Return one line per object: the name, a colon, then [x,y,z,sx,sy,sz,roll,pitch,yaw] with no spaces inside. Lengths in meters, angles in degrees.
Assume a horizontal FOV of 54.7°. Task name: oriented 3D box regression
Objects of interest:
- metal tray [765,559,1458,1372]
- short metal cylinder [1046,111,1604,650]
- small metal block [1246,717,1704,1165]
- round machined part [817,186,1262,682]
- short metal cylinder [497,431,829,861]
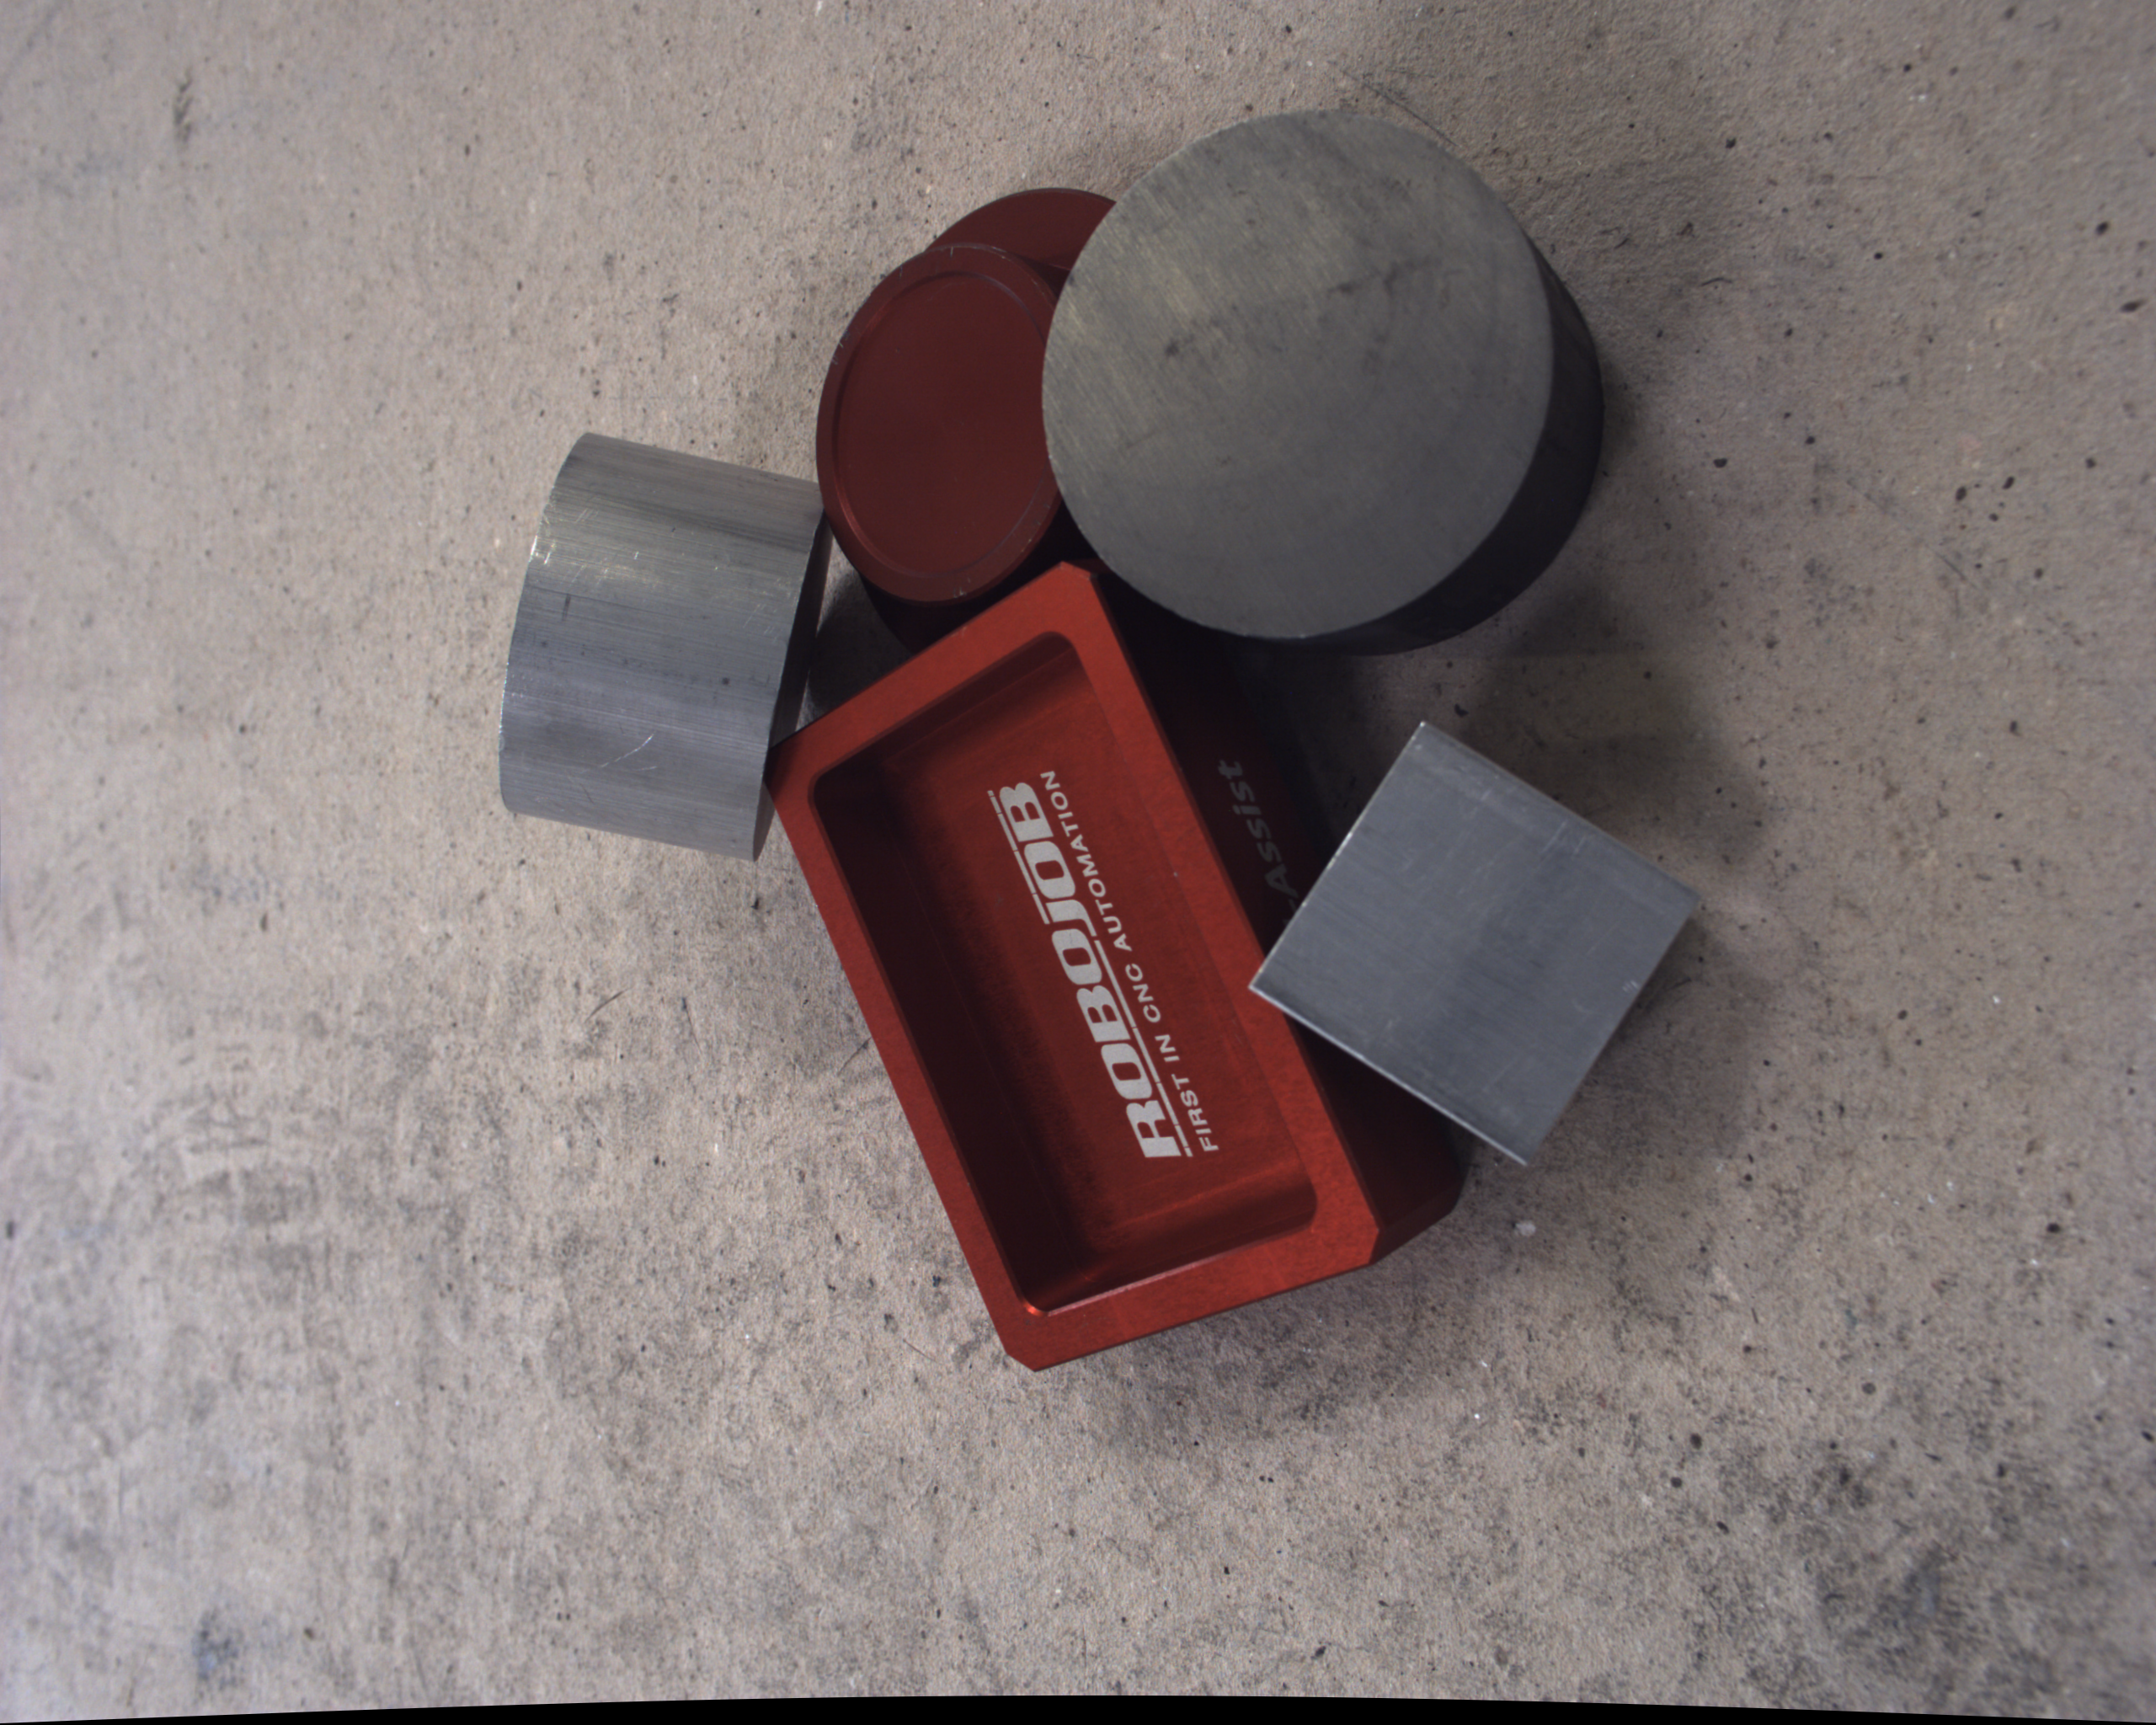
metal tray: [0.003,0.020,0.386,0.090,0.030,0.129,-28,82,36]
short metal cylinder: [0.042,-0.075,0.342,0.080,0.050,0.079,1,92,22]
small metal block: [0.062,0.013,0.332,0.050,0.025,0.050,33,88,6]
round machined part: [-0.012,-0.082,0.406,0.098,0.042,0.097,0,90,40]
short metal cylinder: [-0.084,-0.044,0.431,0.050,0.080,0.079,12,101,-5]
